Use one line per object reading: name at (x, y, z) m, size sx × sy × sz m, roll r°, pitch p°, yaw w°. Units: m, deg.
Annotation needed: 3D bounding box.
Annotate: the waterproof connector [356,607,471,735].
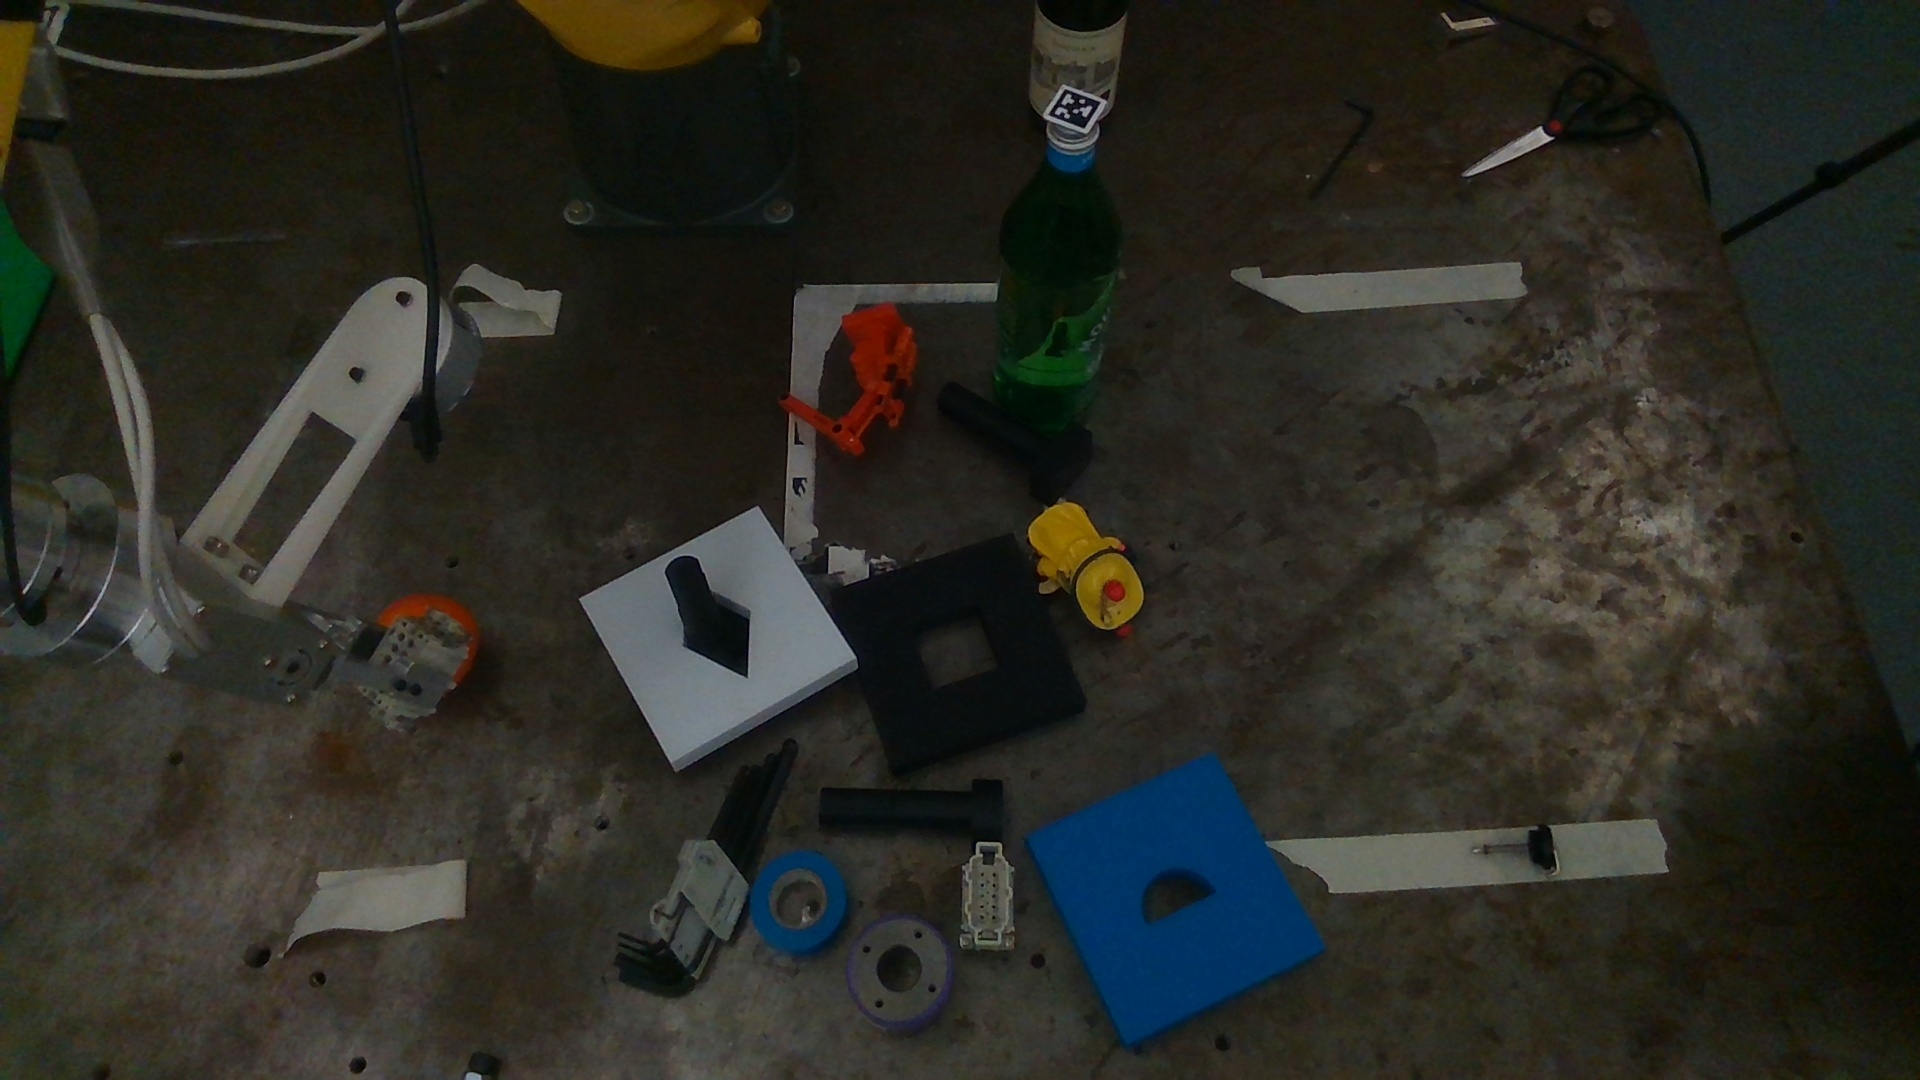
waterproof connector at (-0.301, 0.073, 0.771) m, size 0.037 × 0.038 × 0.069 m, roll 29°, pitch 87°, yaw 32°
